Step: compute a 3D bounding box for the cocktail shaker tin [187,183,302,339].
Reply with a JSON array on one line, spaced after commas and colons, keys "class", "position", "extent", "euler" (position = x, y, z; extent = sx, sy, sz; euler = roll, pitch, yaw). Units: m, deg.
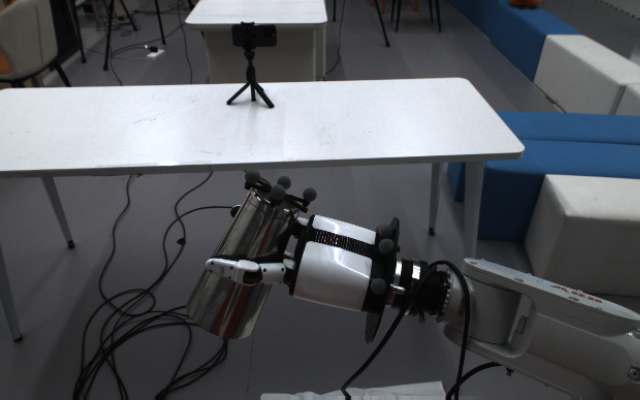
[{"class": "cocktail shaker tin", "position": [-0.087, 0.072, 0.598], "extent": [0.093, 0.170, 0.093], "euler": [24, 12, -6]}]
